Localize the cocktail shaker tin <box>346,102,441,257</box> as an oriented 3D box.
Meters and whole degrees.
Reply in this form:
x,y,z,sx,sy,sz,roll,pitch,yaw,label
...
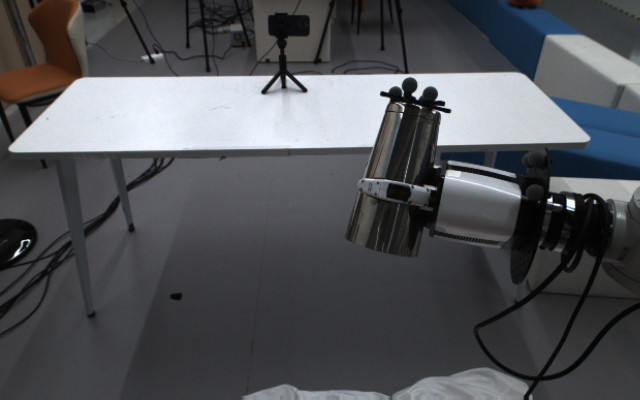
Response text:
x,y,z,sx,sy,sz,roll,pitch,yaw,label
0.095,-0.026,0.586,0.093,0.170,0.093,13,4,-1,cocktail shaker tin
